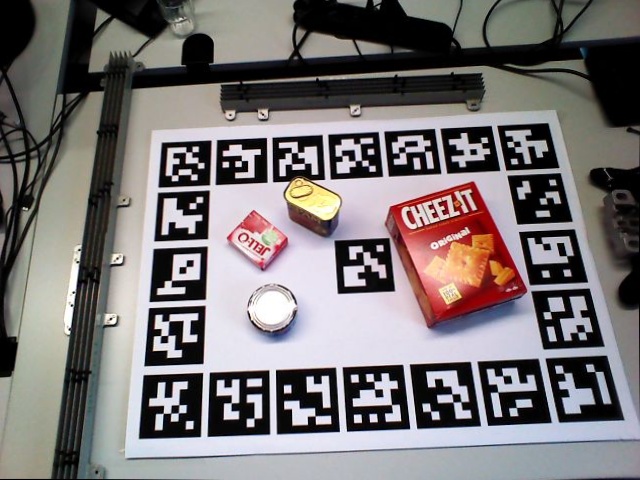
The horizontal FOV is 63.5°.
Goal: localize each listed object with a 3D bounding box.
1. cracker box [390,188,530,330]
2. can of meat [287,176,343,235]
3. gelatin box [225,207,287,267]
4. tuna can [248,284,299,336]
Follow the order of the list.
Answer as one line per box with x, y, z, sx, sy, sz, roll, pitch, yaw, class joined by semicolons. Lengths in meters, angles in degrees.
0.240;0.028;0.909;0.164;0.072;0.213;-17;66;-7;cracker box
-0.006;-0.061;0.950;0.102;0.084;0.057;26;69;13;can of meat
-0.117;-0.006;0.952;0.089;0.030;0.073;38;70;13;gelatin box
-0.079;0.121;0.891;0.086;0.034;0.085;-1;70;2;tuna can
